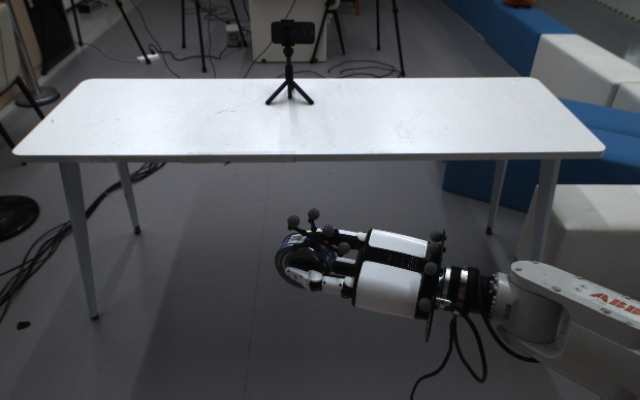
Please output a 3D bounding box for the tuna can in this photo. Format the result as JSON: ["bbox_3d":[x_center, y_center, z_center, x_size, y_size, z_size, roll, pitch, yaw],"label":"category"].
[{"bbox_3d":[-0.021,0.090,0.712,0.085,0.085,0.034,12,35,14],"label":"tuna can"}]
